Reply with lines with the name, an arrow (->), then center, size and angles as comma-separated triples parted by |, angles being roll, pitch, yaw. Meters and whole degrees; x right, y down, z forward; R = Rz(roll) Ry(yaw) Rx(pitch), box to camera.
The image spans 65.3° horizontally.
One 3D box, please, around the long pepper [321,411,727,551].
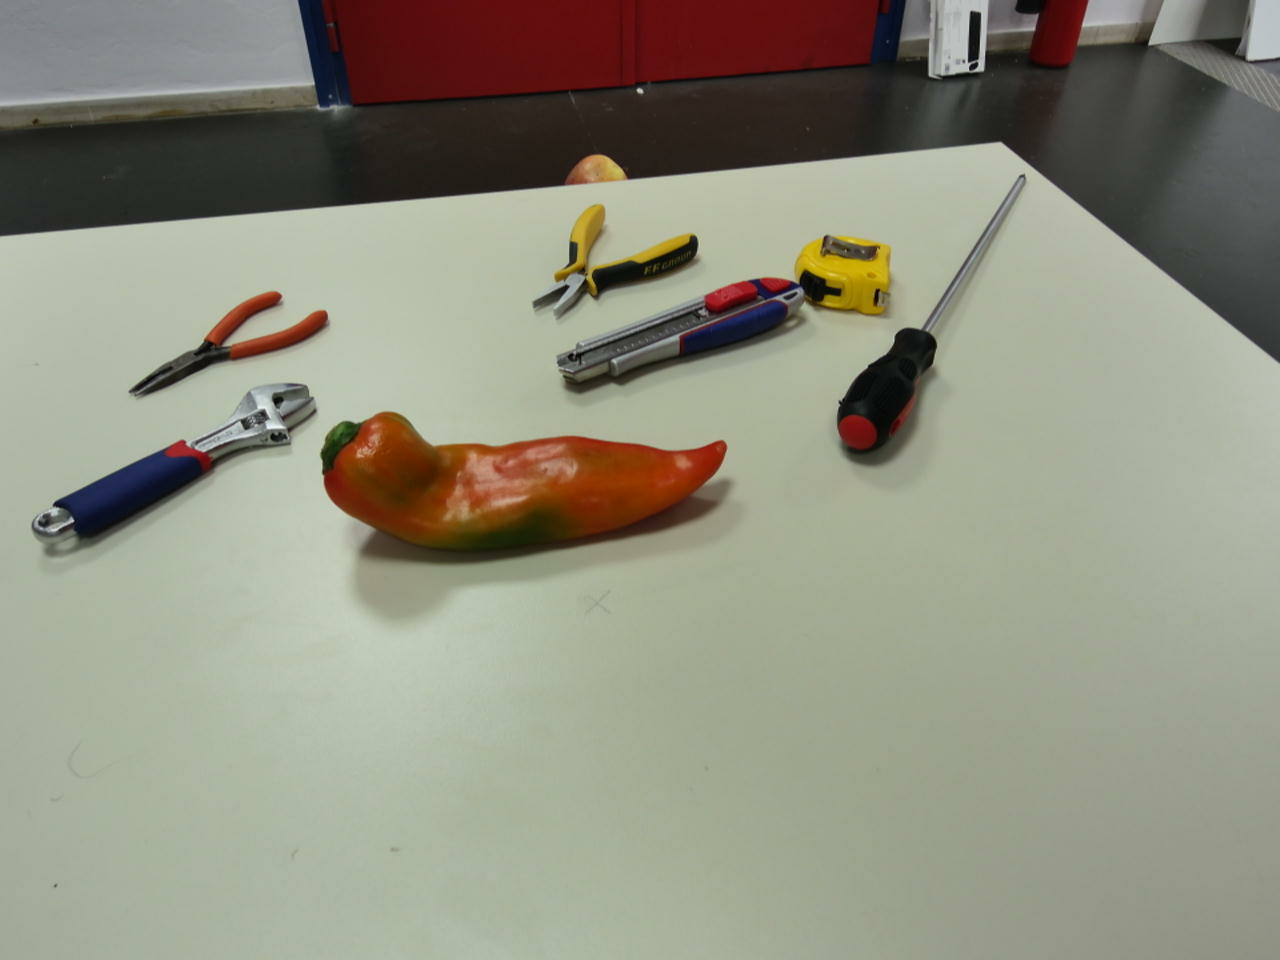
long pepper -> -0.054, -0.008, 0.492 | 0.199, 0.065, 0.066 | -5, 39, -6
